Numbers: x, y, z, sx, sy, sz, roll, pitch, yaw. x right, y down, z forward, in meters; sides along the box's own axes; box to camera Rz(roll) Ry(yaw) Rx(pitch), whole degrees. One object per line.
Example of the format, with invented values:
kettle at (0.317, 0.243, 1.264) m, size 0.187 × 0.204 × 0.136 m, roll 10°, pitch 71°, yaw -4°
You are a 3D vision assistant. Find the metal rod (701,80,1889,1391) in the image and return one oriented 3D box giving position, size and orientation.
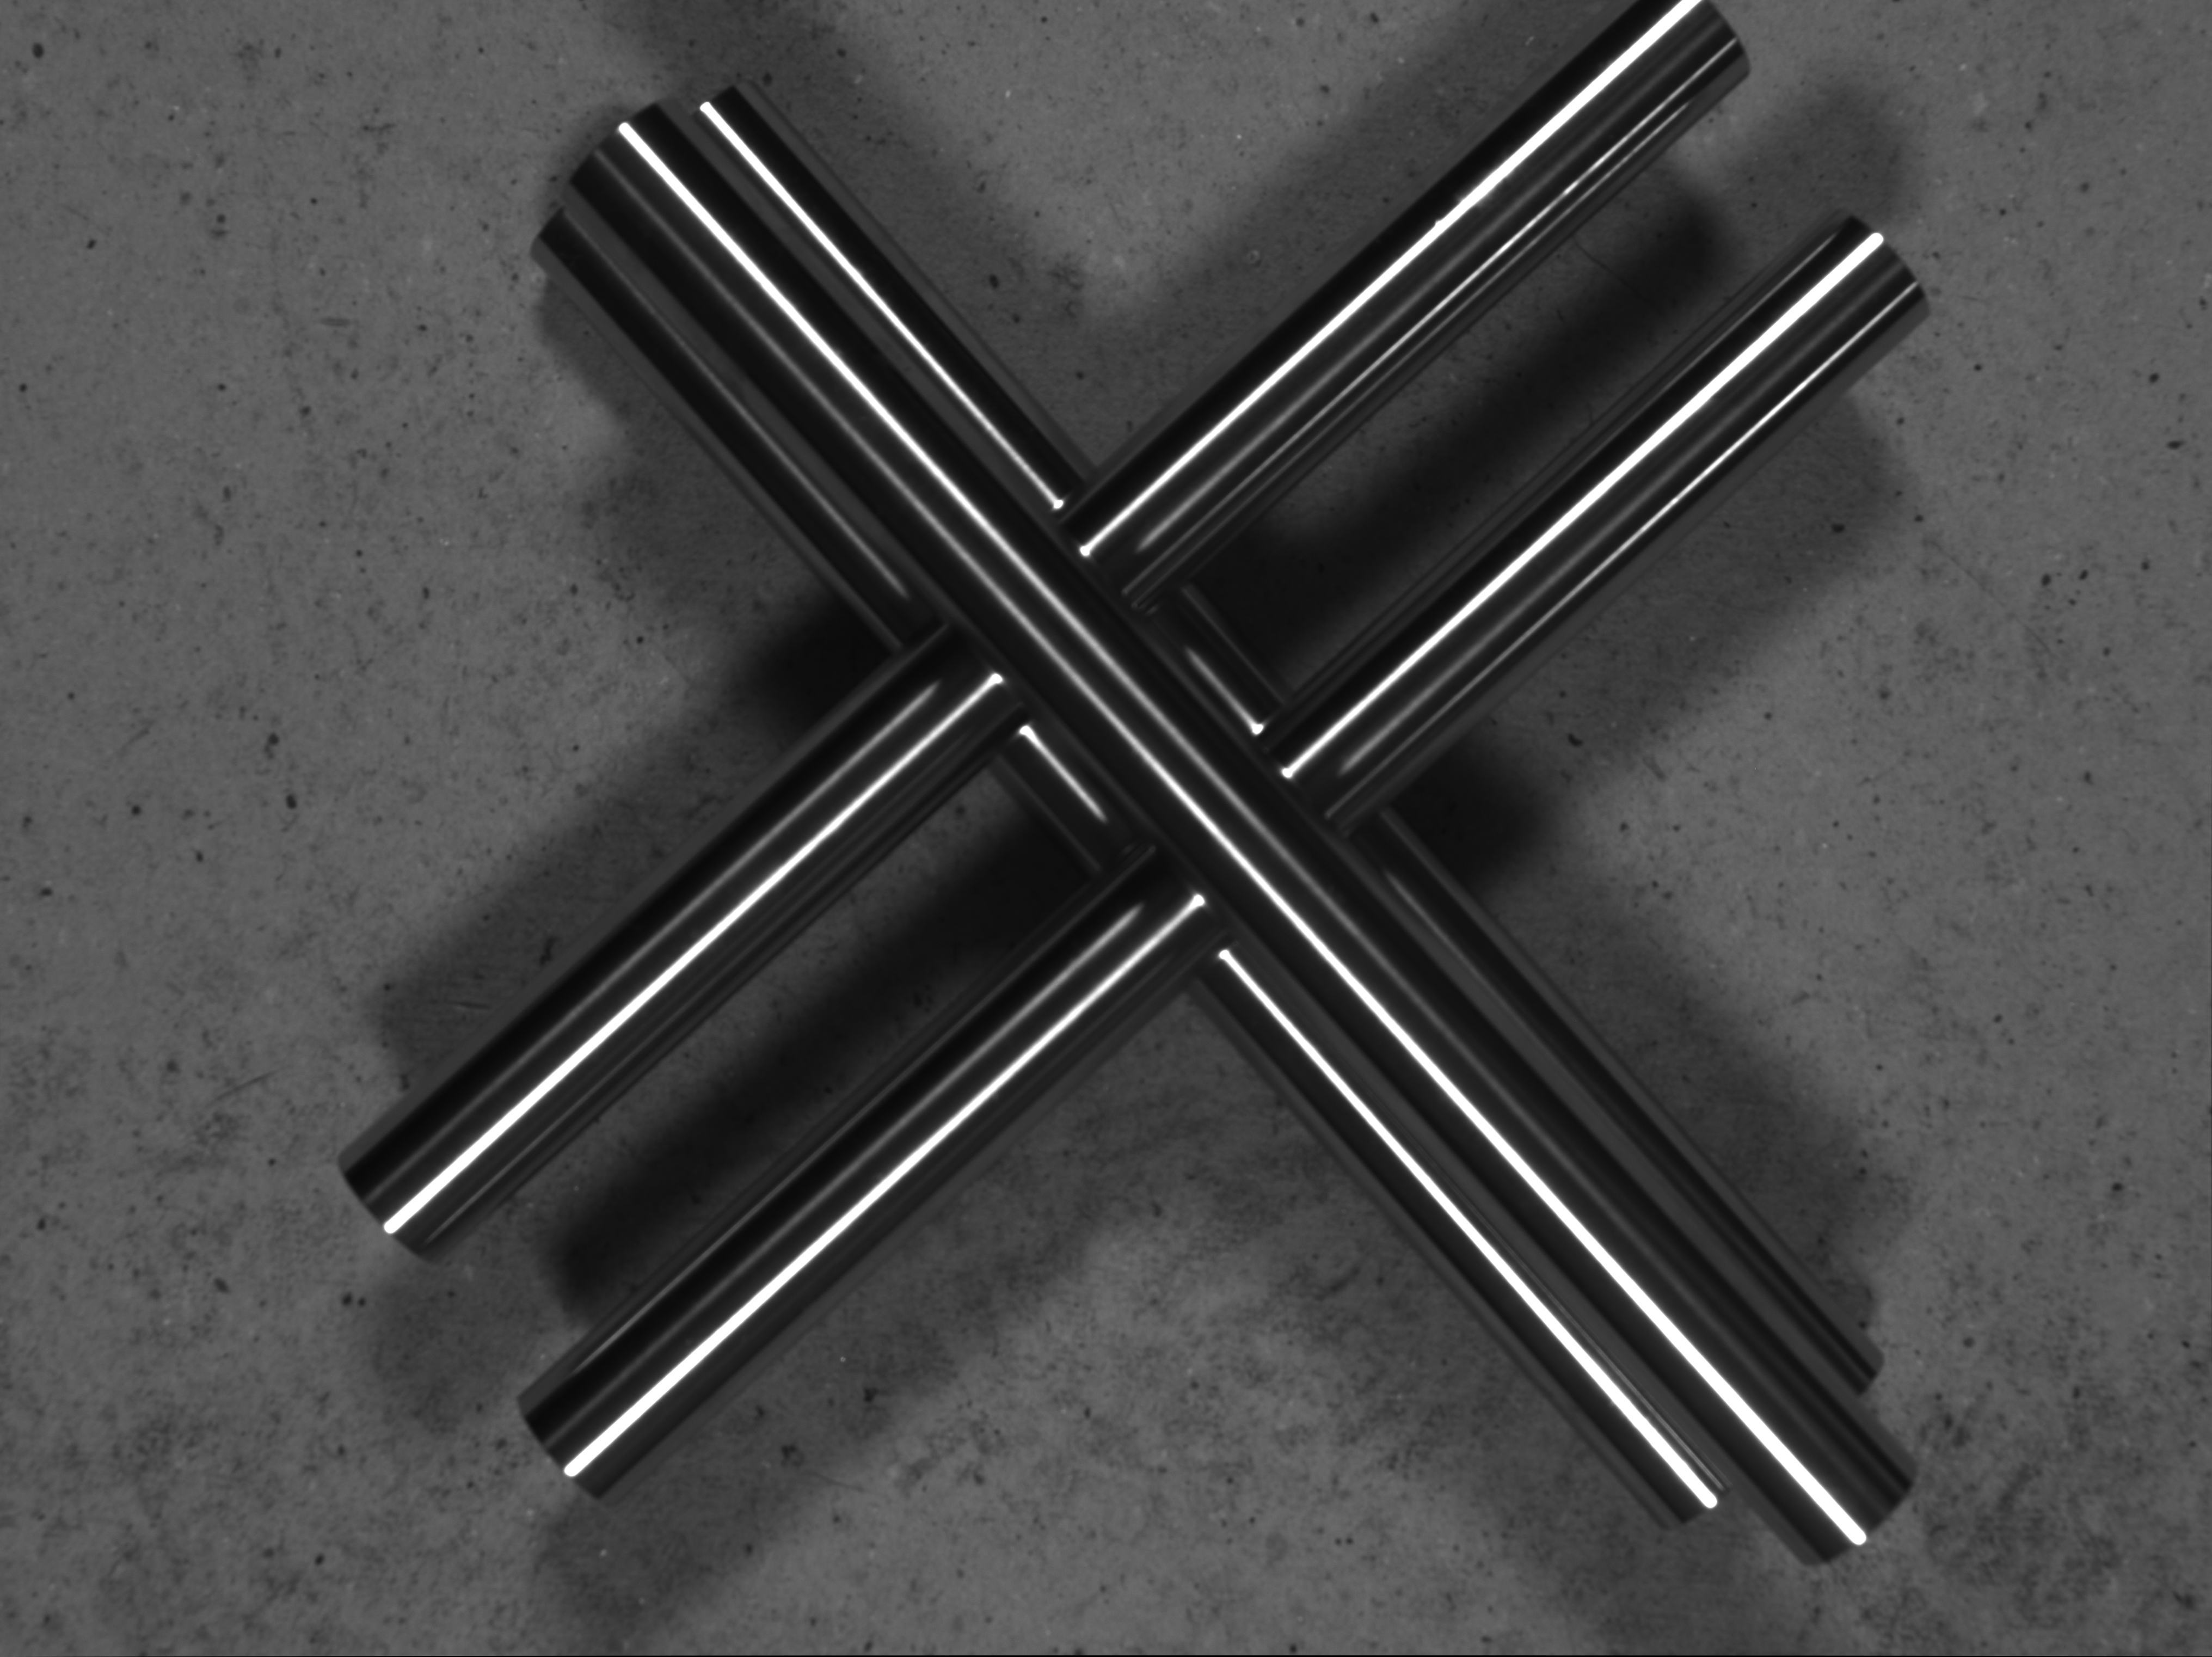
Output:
metal rod at (0.029, -0.011, 0.645) m, size 0.025 × 0.025 × 0.300 m, roll -42°, pitch 90°, yaw 0°

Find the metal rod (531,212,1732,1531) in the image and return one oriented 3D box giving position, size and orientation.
metal rod at (0.008, 0.003, 0.645) m, size 0.025 × 0.025 × 0.300 m, roll -42°, pitch 90°, yaw 0°

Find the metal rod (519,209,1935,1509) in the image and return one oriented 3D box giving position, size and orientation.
metal rod at (0.021, 0.005, 0.620) m, size 0.300 × 0.025 × 0.025 m, roll -42°, pitch 90°, yaw 0°

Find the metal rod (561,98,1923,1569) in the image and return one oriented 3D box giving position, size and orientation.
metal rod at (0.022, 0.001, 0.595) m, size 0.025 × 0.025 × 0.300 m, roll -42°, pitch 90°, yaw 0°

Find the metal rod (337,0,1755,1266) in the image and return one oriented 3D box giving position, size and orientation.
metal rod at (-0.010, -0.036, 0.620) m, size 0.300 × 0.025 × 0.025 m, roll -42°, pitch 90°, yaw 0°
